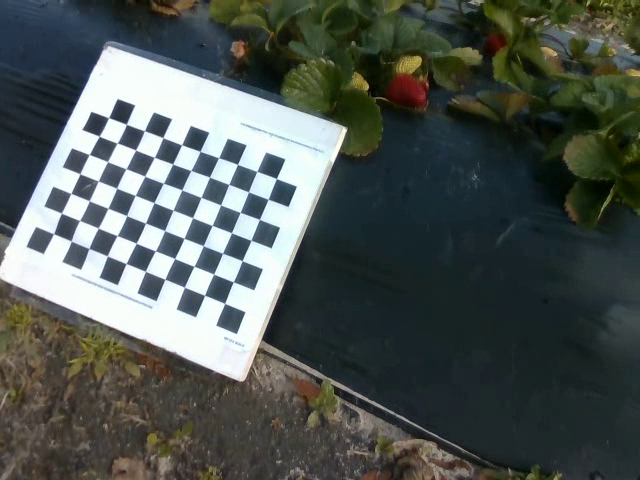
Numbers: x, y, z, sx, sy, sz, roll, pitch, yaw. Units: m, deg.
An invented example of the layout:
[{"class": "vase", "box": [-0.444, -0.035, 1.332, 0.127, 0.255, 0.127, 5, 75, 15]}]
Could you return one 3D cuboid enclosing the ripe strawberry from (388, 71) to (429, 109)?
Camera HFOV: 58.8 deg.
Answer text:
[{"class": "ripe strawberry", "box": [0.097, -0.167, 0.599, 0.050, 0.064, 0.043, -36, -13, -2]}]
